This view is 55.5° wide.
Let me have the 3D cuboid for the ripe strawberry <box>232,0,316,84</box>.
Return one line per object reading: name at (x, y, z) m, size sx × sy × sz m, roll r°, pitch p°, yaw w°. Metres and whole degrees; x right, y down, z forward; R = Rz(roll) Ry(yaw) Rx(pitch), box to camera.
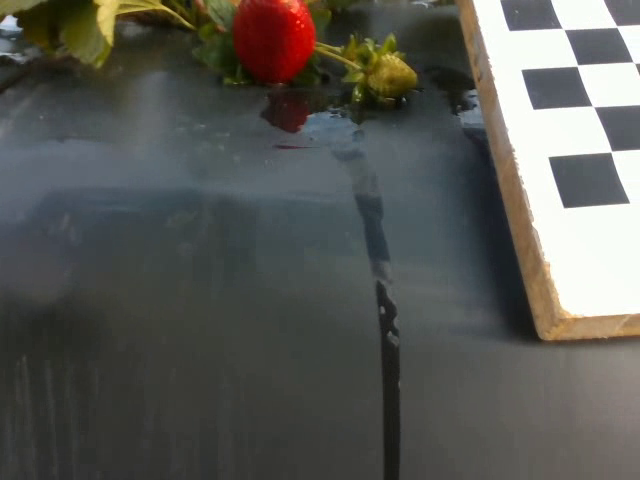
ripe strawberry at (-0.019, -0.105, 0.292) m, size 0.043 × 0.052 × 0.057 m, roll -28°, pitch 0°, yaw -8°
